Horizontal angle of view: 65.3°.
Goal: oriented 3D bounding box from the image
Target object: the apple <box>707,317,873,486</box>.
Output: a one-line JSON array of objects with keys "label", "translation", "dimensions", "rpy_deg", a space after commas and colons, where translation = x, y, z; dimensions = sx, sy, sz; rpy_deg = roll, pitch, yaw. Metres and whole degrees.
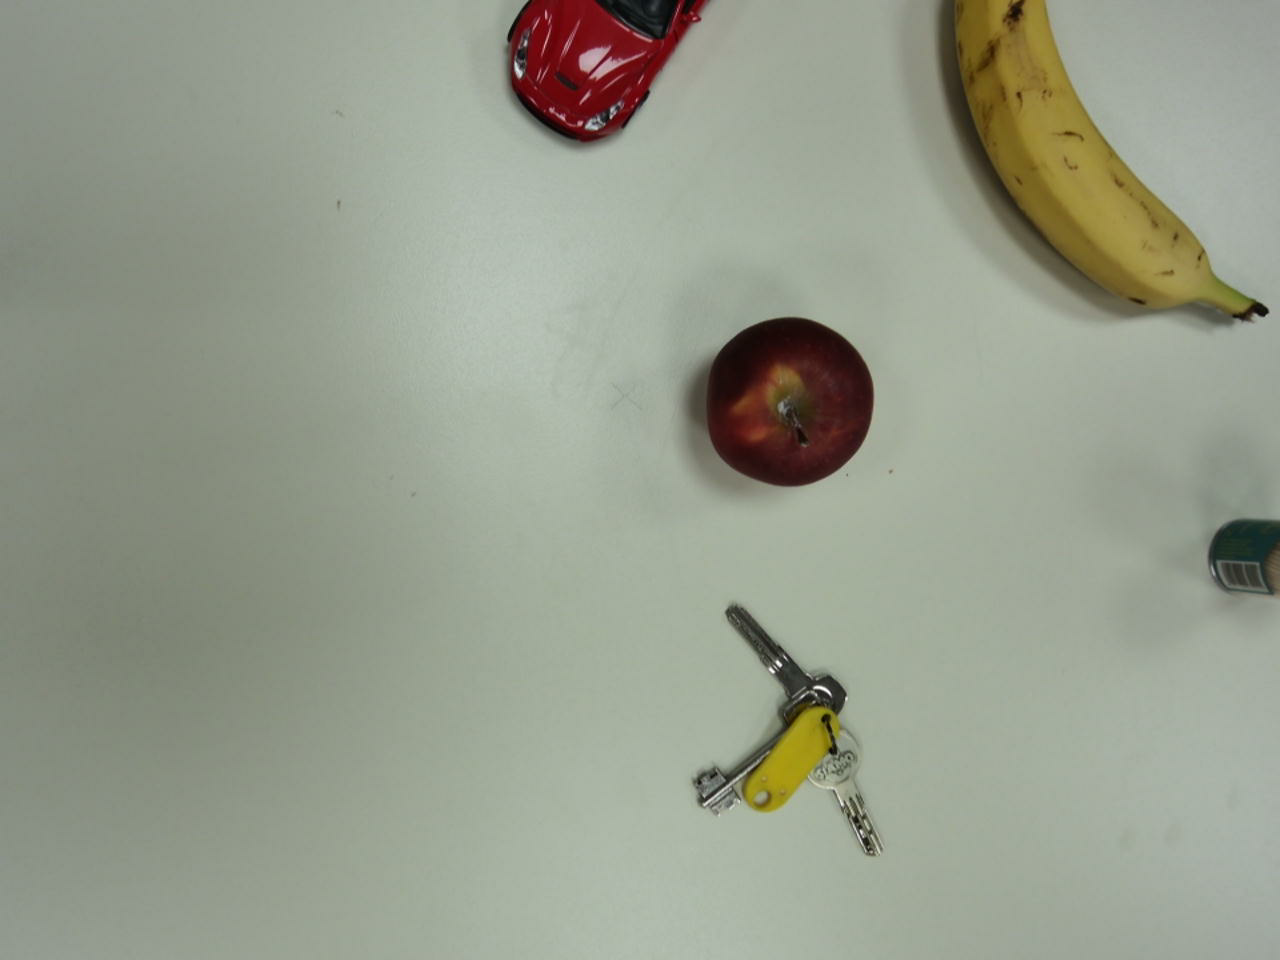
[{"label": "apple", "translation": [0.061, -0.032, 0.416], "dimensions": [0.070, 0.072, 0.070], "rpy_deg": [0, 90, -12]}]
